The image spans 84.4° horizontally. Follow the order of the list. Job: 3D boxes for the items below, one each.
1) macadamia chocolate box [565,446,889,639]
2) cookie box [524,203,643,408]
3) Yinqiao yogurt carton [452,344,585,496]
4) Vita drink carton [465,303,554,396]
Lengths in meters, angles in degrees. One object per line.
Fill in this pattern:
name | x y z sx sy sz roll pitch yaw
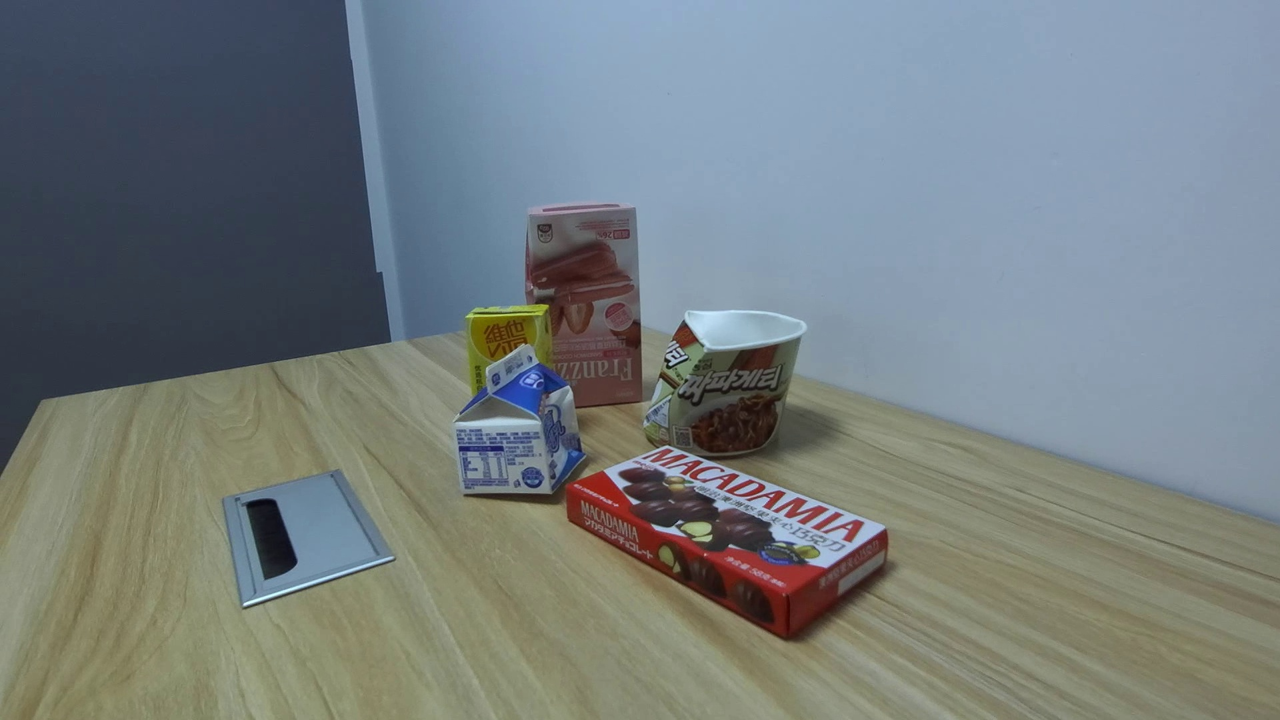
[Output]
macadamia chocolate box | 0.045 0.098 0.424 0.096 0.027 0.177 -15 20 -40
cookie box | -0.053 -0.050 0.660 0.105 0.187 0.048 -4 18 -6
Yinqiao yogurt carton | -0.087 0.042 0.515 0.071 0.094 0.077 -2 14 19
Vita drink carton | -0.108 0.011 0.601 0.066 0.109 0.043 -2 14 1
